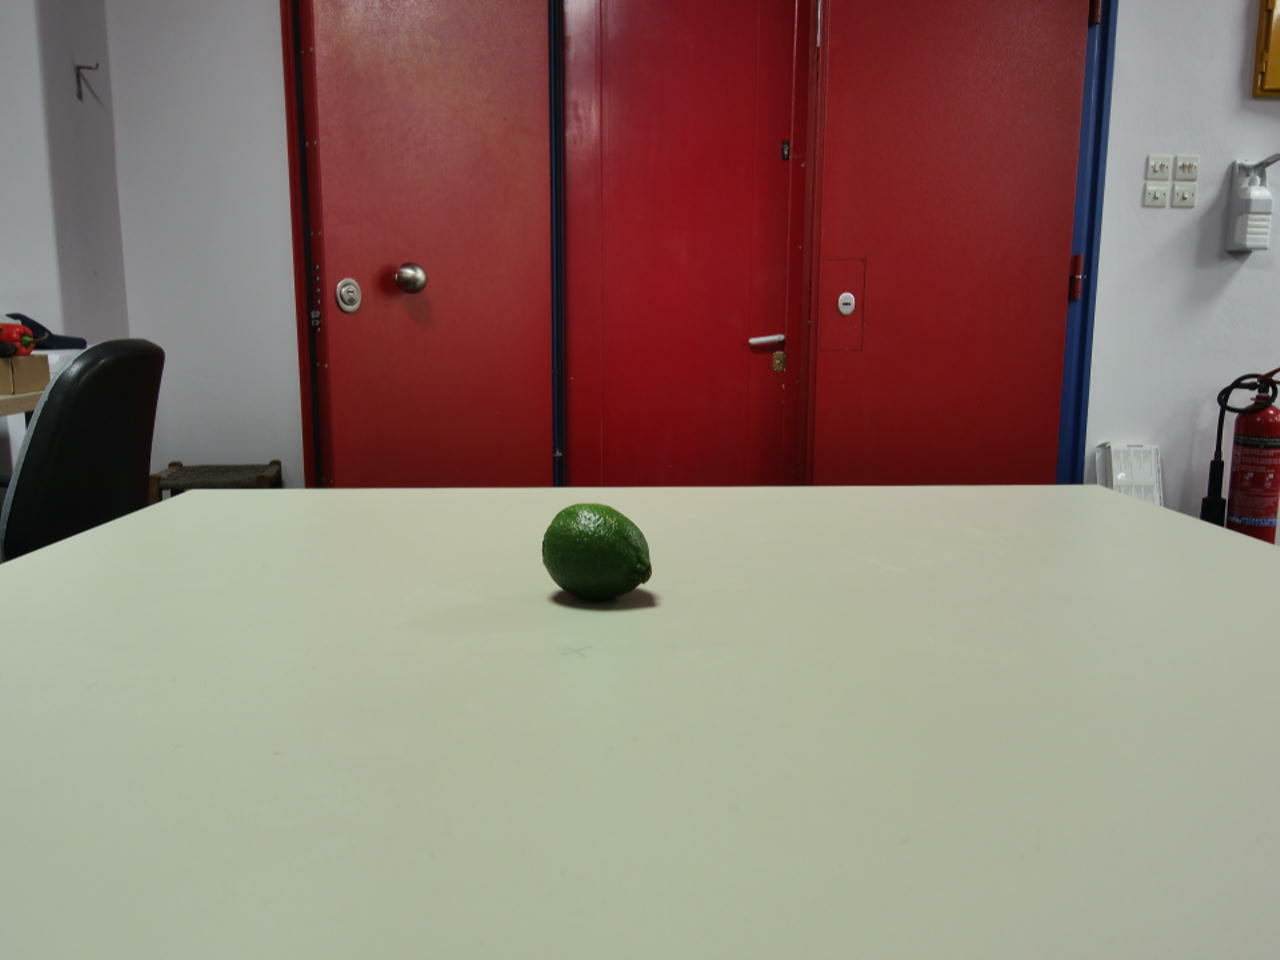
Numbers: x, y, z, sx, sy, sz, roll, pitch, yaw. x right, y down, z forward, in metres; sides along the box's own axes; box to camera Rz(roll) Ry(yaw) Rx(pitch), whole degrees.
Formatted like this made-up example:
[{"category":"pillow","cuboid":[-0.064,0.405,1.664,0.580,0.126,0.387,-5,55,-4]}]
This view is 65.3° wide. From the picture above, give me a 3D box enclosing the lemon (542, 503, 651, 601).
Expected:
[{"category":"lemon","cuboid":[-0.024,0.038,0.537,0.057,0.051,0.054,-1,7,-4]}]
